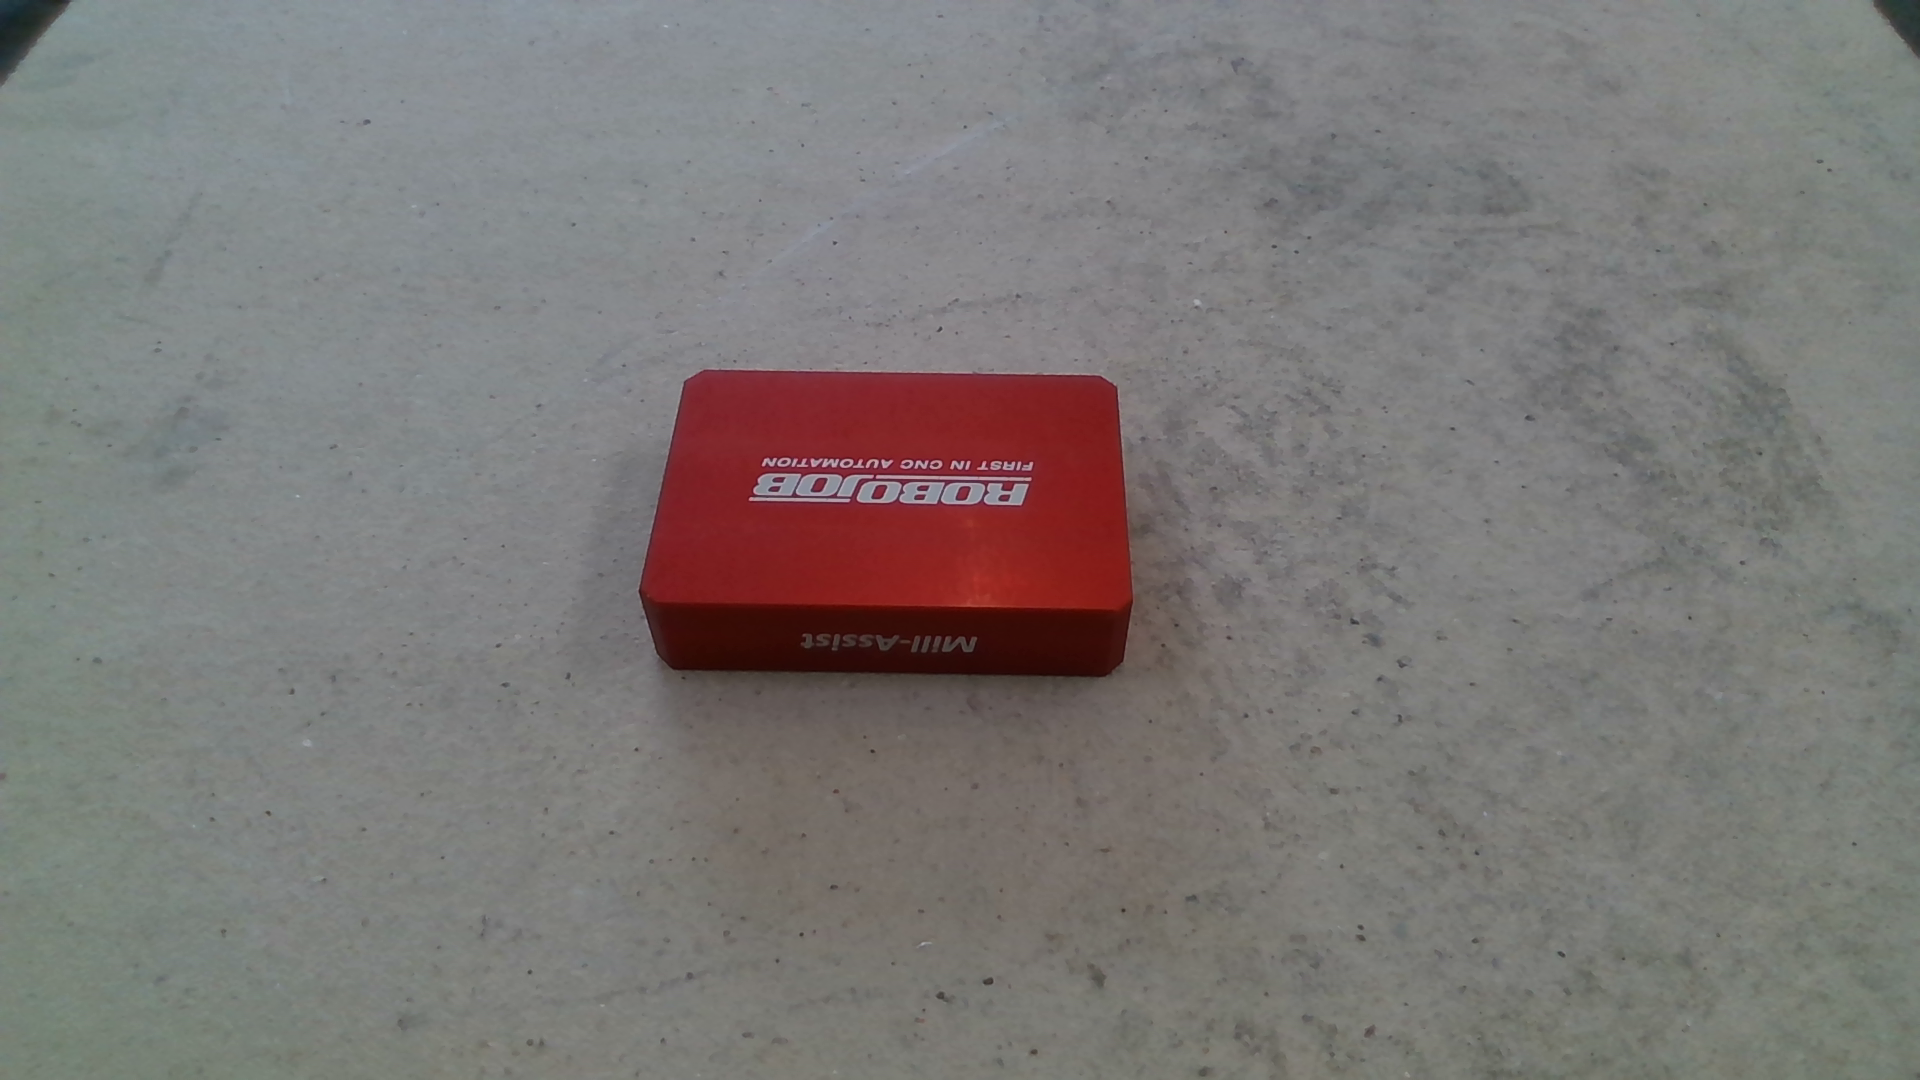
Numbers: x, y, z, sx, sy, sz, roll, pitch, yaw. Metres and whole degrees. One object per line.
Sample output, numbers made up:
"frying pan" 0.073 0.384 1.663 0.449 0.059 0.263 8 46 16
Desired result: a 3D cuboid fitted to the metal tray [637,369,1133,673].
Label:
"metal tray" -0.019 -0.007 0.396 0.130 0.030 0.090 0 51 1
